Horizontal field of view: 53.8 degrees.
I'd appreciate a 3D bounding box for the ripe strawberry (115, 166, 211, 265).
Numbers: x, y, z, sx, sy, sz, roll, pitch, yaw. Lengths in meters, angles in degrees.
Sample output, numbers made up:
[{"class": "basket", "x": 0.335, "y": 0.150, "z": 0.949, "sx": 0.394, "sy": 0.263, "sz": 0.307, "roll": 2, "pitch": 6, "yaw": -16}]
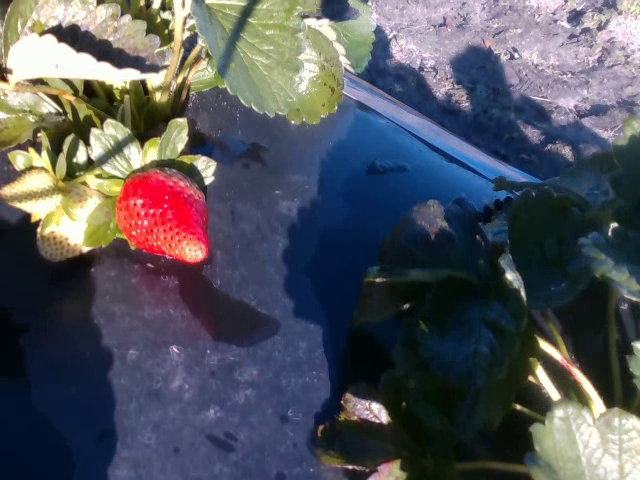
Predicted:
[{"class": "ripe strawberry", "x": -0.065, "y": -0.006, "z": 0.283, "sx": 0.064, "sy": 0.050, "sz": 0.052, "roll": 40, "pitch": -1, "yaw": 36}]
